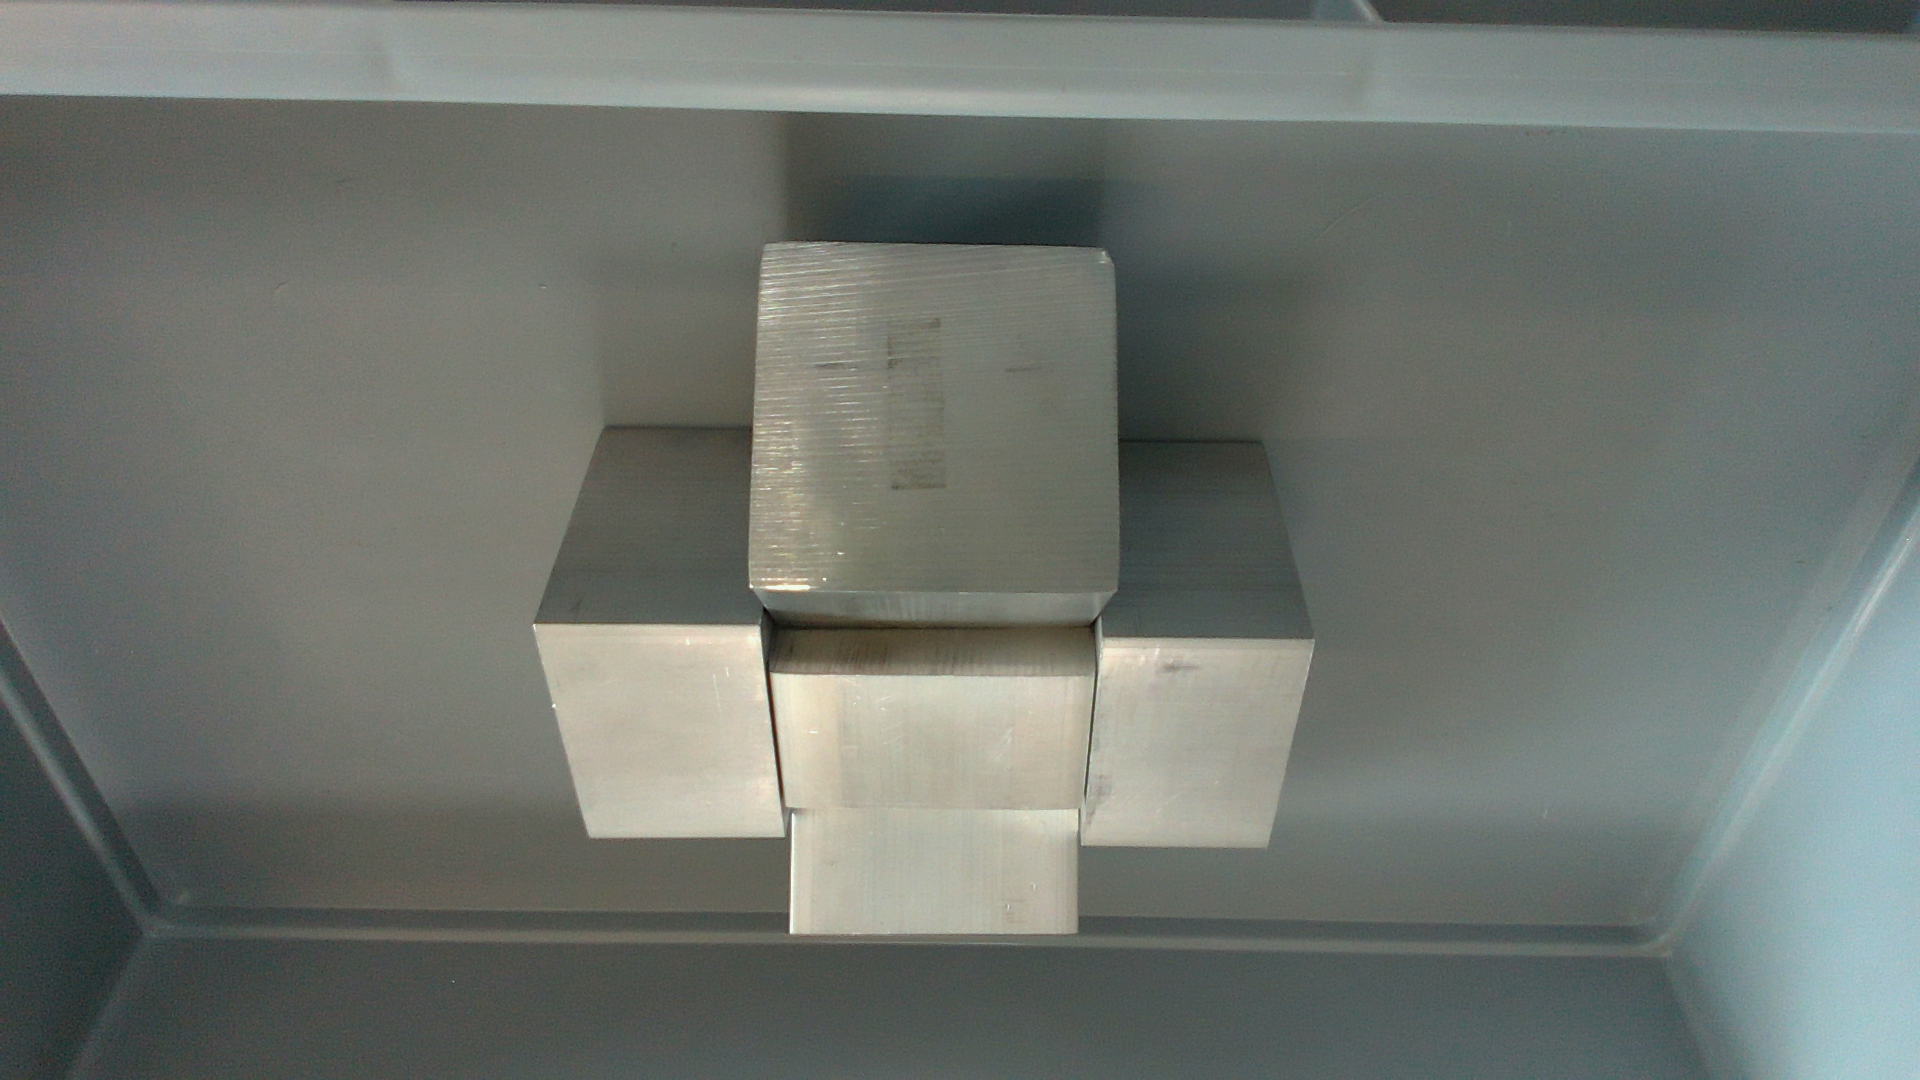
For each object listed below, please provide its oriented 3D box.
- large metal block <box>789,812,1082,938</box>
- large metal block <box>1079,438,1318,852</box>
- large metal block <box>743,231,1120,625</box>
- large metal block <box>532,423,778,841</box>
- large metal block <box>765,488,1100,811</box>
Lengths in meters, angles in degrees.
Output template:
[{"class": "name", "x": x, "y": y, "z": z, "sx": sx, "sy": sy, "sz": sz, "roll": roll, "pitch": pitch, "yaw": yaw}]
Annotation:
[{"class": "large metal block", "x": -0.007, "y": 0.084, "z": 0.416, "sx": 0.080, "sy": 0.080, "sz": 0.050, "roll": 0, "pitch": 88, "yaw": -1}, {"class": "large metal block", "x": 0.058, "y": 0.028, "z": 0.378, "sx": 0.050, "sy": 0.080, "sz": 0.080, "roll": 0, "pitch": 130, "yaw": 0}, {"class": "large metal block", "x": -0.006, "y": -0.024, "z": 0.325, "sx": 0.080, "sy": 0.080, "sz": 0.050, "roll": 1, "pitch": 168, "yaw": -1}, {"class": "large metal block", "x": -0.074, "y": 0.024, "z": 0.374, "sx": 0.050, "sy": 0.080, "sz": 0.080, "roll": 0, "pitch": 130, "yaw": 0}, {"class": "large metal block", "x": -0.007, "y": 0.026, "z": 0.375, "sx": 0.080, "sy": 0.080, "sz": 0.050, "roll": 1, "pitch": 130, "yaw": -1}]
